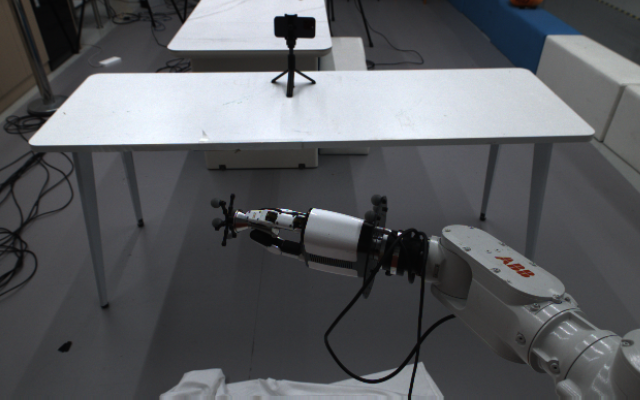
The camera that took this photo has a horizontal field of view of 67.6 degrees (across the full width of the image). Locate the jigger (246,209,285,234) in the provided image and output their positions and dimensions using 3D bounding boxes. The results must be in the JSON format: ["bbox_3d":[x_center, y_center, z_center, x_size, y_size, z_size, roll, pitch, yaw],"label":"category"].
[{"bbox_3d":[-0.096,0.033,0.794,0.071,0.043,0.043,4,34,14],"label":"jigger"}]
